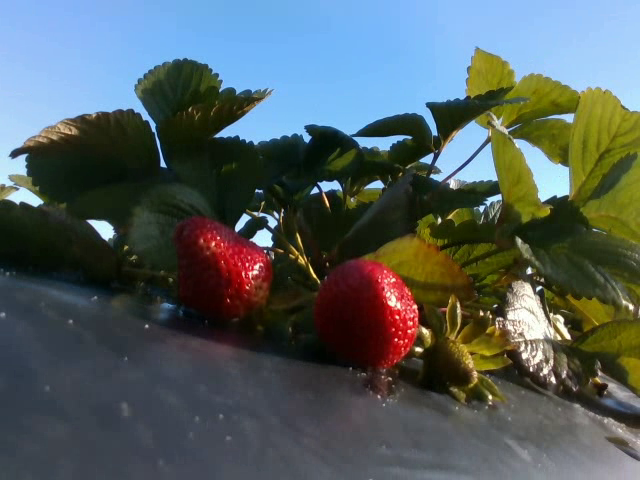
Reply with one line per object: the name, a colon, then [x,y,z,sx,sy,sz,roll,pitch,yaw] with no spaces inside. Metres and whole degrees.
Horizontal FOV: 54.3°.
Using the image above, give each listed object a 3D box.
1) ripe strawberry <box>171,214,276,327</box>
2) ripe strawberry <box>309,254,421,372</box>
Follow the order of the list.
ripe strawberry: [-0.040,0.011,0.250,0.039,0.054,0.048,-36,25,11]
ripe strawberry: [0.018,0.020,0.212,0.043,0.039,0.053,34,-20,8]
